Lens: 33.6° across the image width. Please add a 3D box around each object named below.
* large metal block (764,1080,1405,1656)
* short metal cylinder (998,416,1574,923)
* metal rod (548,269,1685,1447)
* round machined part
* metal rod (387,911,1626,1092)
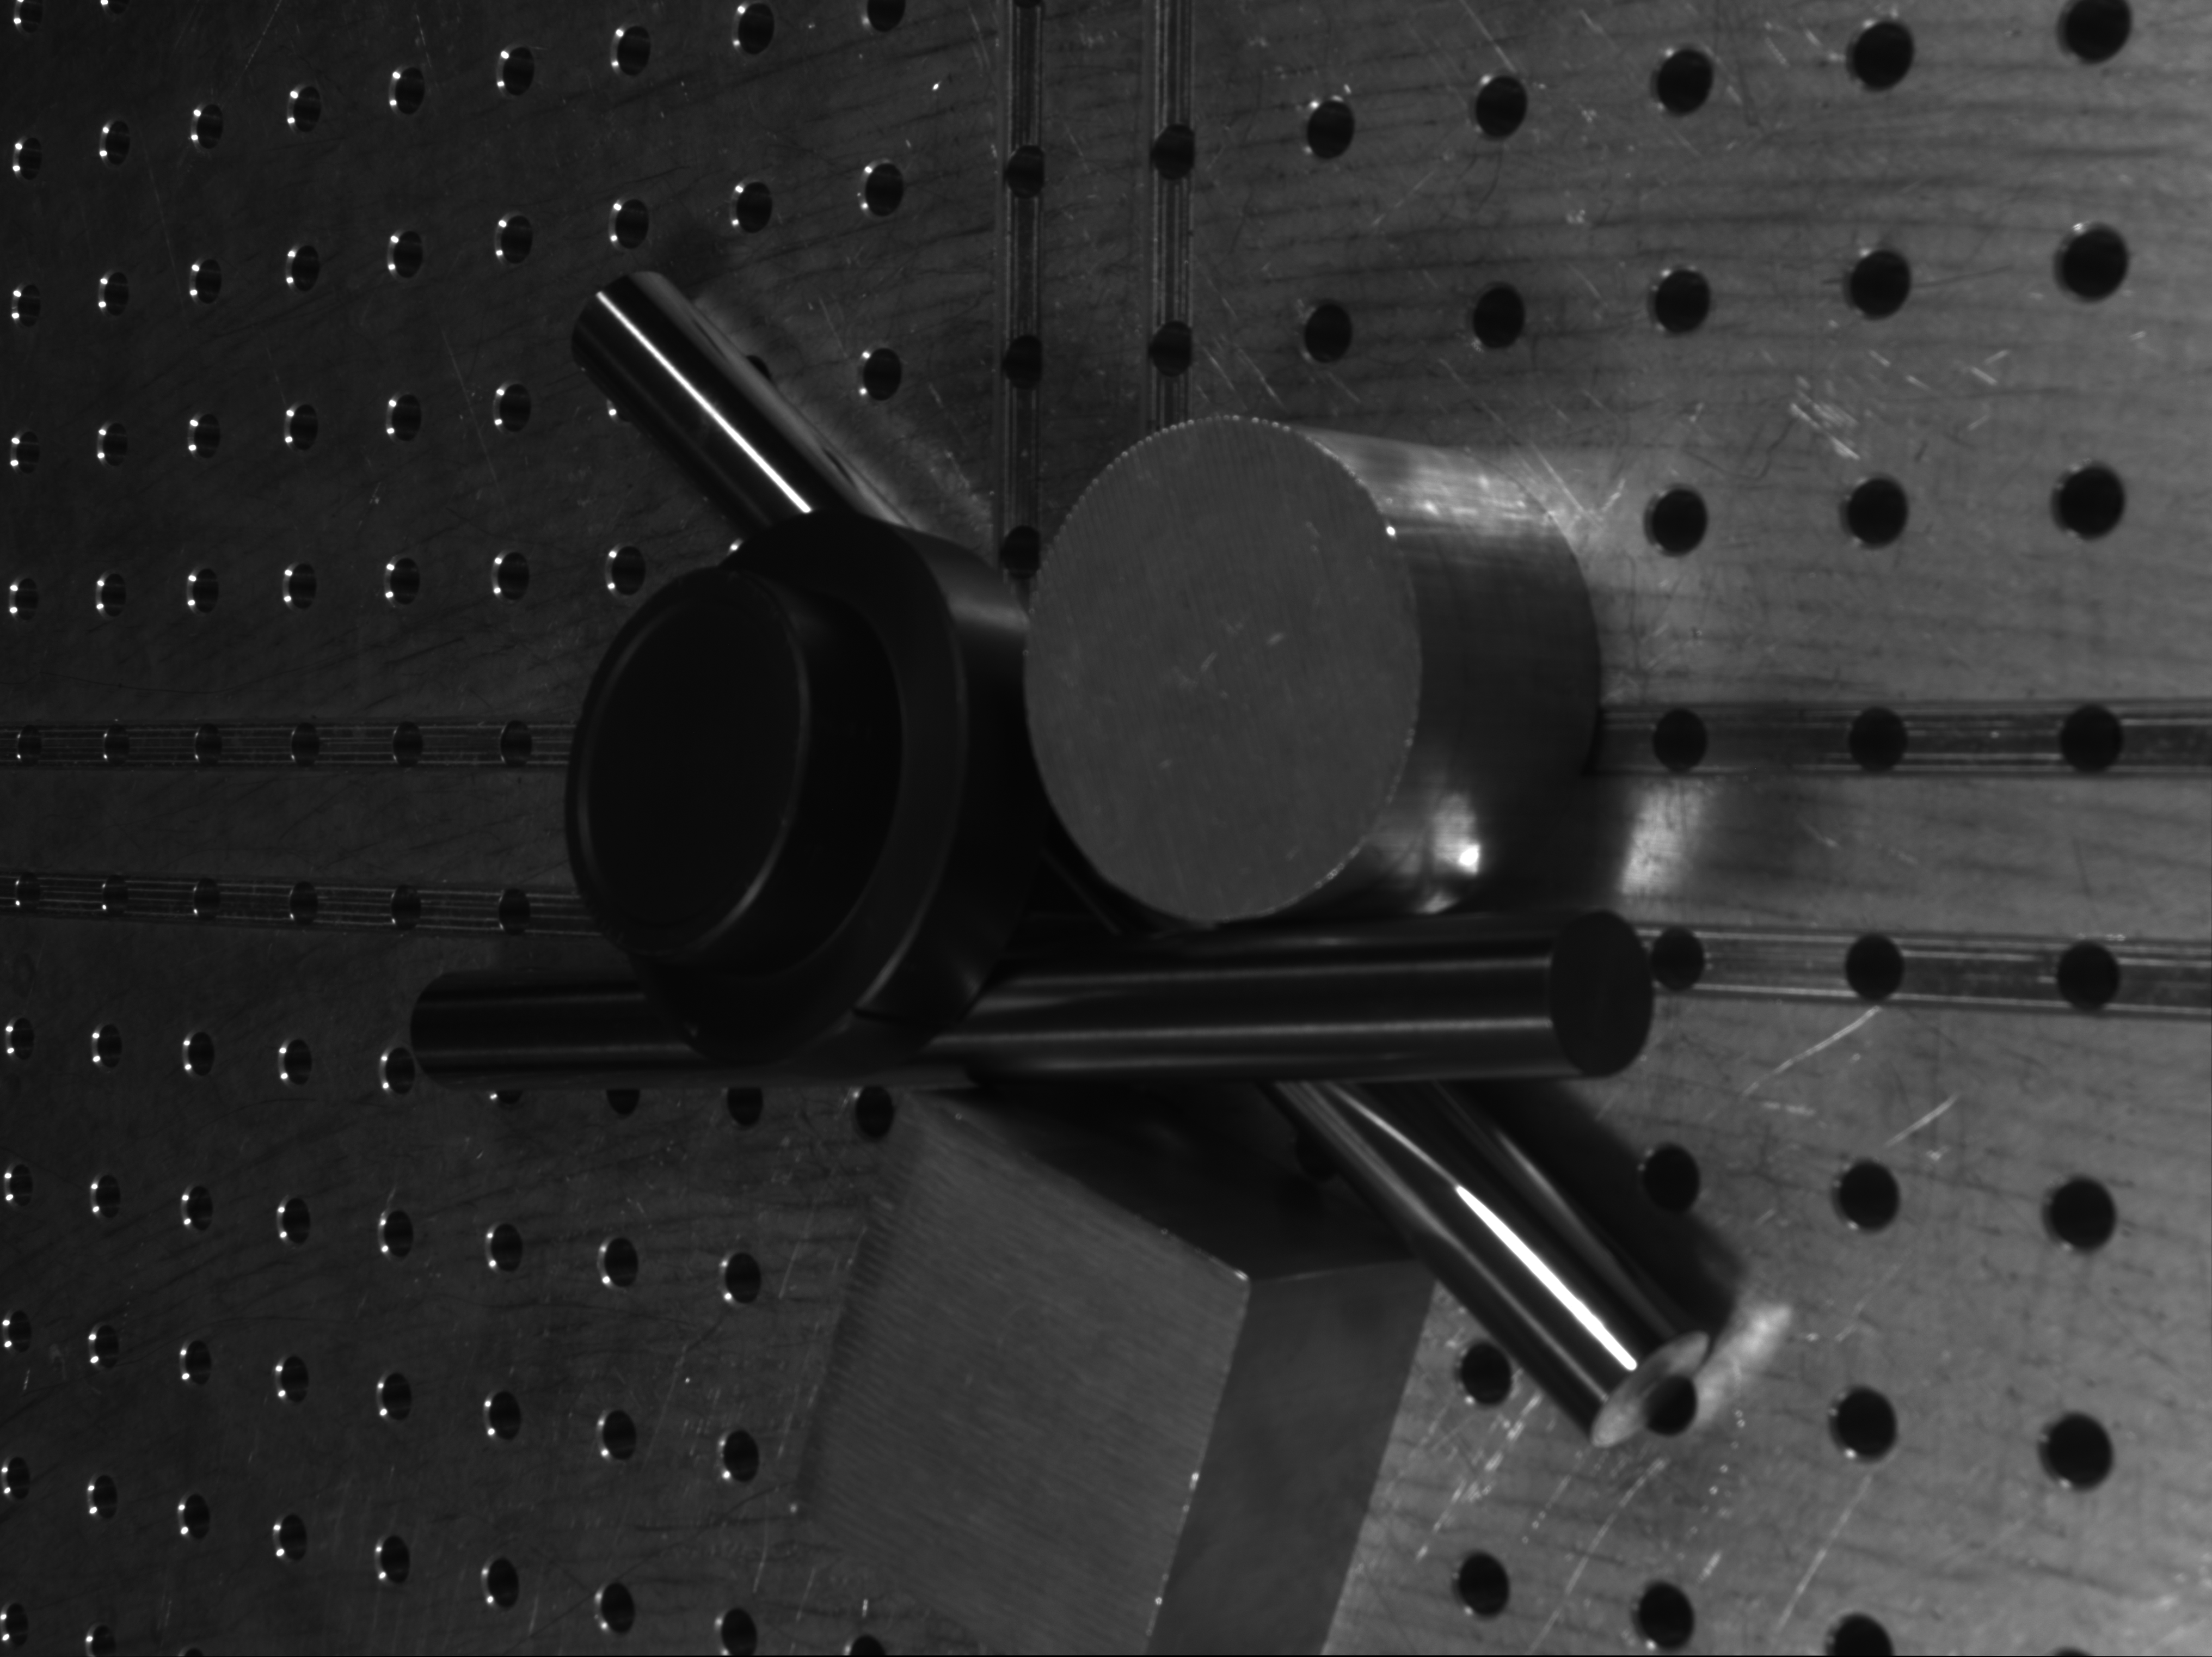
[{"bbox_3d":[-0.004,0.095,0.623,0.080,0.050,0.080,25,106,37],"label":"large metal block"},{"bbox_3d":[0.029,-0.025,0.598,0.080,0.050,0.080,0,90,39],"label":"short metal cylinder"},{"bbox_3d":[-0.009,-0.006,0.647,0.299,0.025,0.025,46,117,30],"label":"metal rod"},{"bbox_3d":[-0.061,-0.007,0.634,0.098,0.042,0.098,-12,73,43],"label":"round machined part"},{"bbox_3d":[-0.034,0.033,0.644,0.299,0.025,0.025,-5,87,47],"label":"metal rod"}]
